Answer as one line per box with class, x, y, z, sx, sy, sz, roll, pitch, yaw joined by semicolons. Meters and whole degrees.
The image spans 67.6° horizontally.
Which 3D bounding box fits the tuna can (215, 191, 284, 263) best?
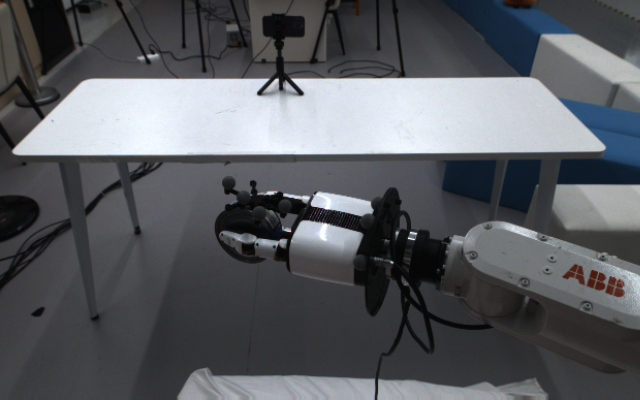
tuna can;-0.093;0.041;0.646;0.085;0.085;0.034;12;30;15
